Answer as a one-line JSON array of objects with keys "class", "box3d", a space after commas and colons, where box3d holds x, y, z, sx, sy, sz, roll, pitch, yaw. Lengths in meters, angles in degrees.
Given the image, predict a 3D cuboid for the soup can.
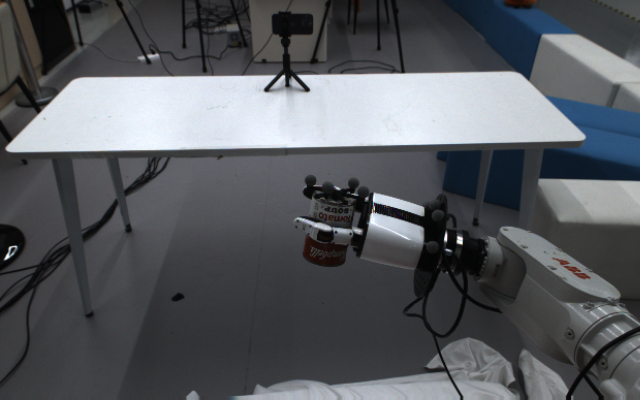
[{"class": "soup can", "box3d": [0.015, 0.041, 0.730, 0.067, 0.101, 0.067, 8, 19, -3]}]
